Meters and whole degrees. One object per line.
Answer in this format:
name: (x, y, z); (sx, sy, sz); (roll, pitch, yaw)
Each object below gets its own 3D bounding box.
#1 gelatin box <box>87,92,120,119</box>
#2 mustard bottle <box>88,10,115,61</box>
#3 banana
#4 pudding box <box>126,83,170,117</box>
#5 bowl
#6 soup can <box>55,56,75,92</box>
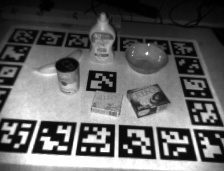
gelatin box: (-0.025, 0.060, 0.672); (0.089, 0.030, 0.073); (8, 51, 2)
mustard bottle: (-0.040, -0.175, 0.761); (0.096, 0.192, 0.058); (3, 45, -2)
banana: (-0.193, -0.095, 0.790); (0.073, 0.039, 0.199); (30, 51, 33)
pudding box: (0.112, 0.044, 0.695); (0.115, 0.039, 0.089); (-15, 56, -18)
bowl: (0.125, -0.097, 0.819); (0.162, 0.055, 0.161); (3, 47, -2)
soup can: (-0.152, -0.037, 0.687); (0.068, 0.102, 0.067); (4, 46, -4)
